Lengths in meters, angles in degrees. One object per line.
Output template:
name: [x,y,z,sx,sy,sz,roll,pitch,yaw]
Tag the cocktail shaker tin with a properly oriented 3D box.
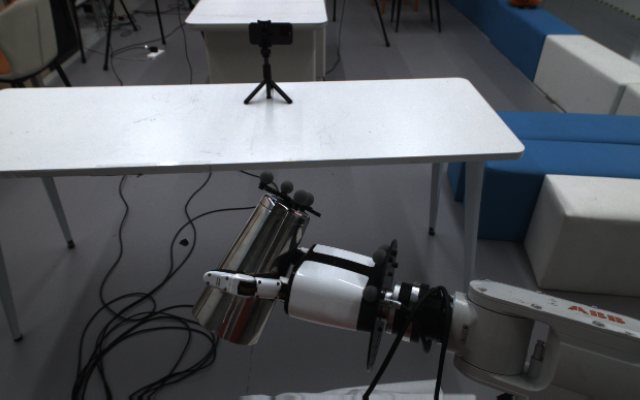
cocktail shaker tin: [-0.079,0.079,0.607,0.093,0.170,0.093,27,2,-1]
